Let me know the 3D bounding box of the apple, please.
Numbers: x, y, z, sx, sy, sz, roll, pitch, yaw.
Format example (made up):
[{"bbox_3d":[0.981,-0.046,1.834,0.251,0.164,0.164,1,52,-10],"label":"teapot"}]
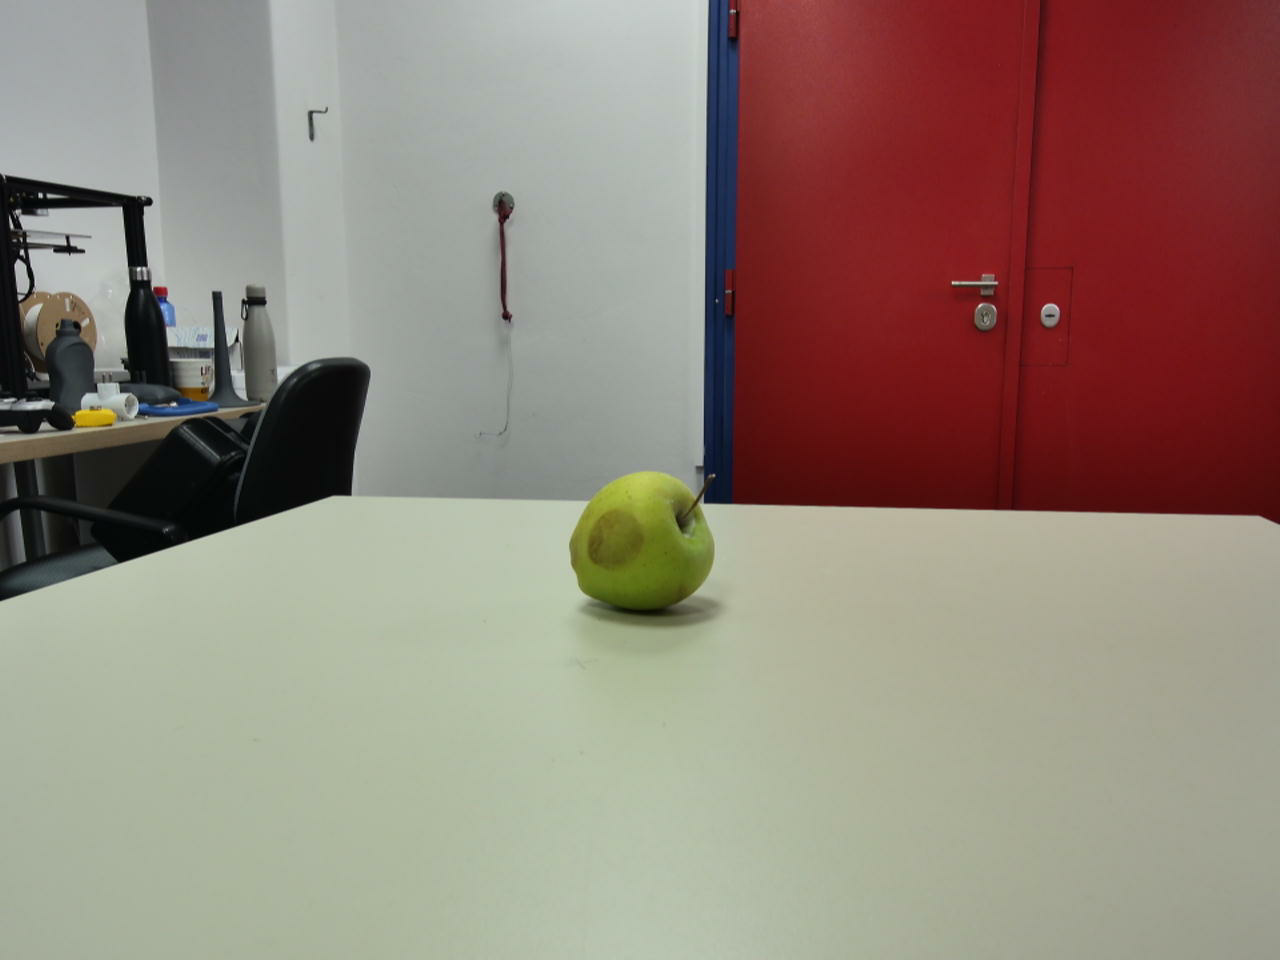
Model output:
[{"bbox_3d":[0.002,0.034,0.549,0.072,0.075,0.077,-5,8,-34],"label":"apple"}]
